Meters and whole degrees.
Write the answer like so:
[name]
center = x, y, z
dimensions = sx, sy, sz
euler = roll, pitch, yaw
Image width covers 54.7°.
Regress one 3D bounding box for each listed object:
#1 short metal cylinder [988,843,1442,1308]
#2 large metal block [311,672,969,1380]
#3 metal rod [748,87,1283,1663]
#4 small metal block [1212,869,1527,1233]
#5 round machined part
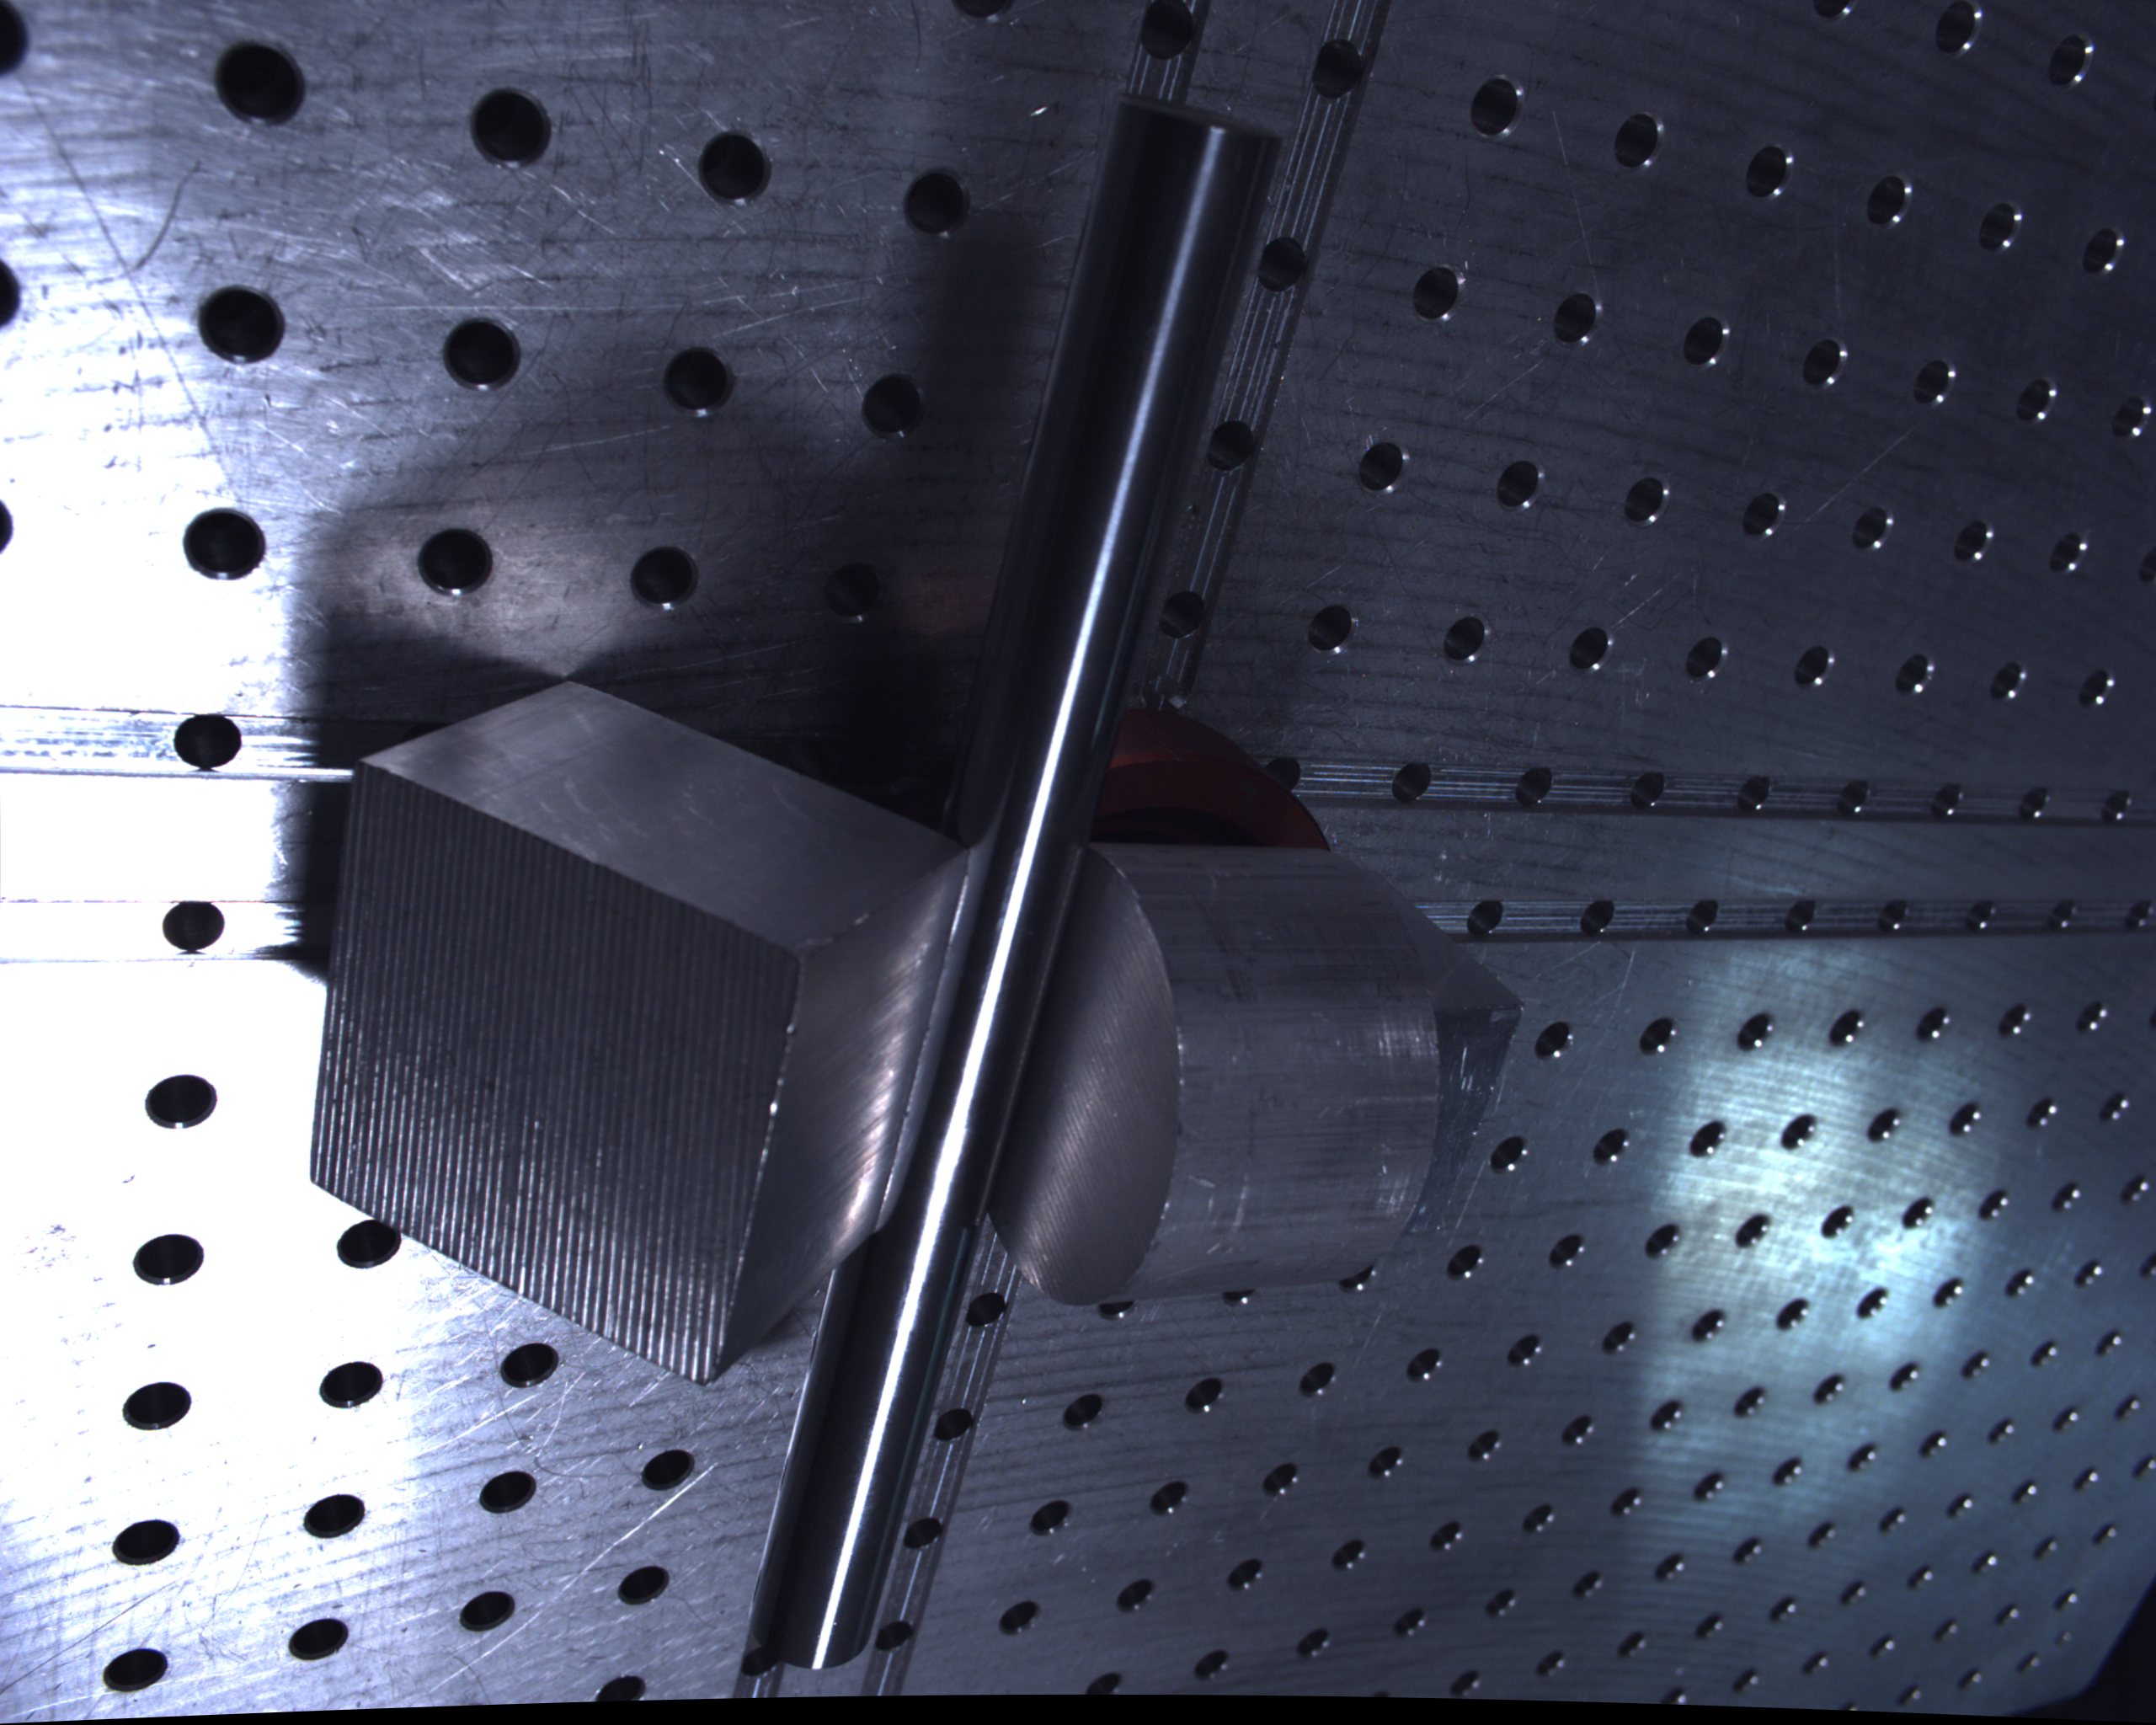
[short metal cylinder]
center = 0.019, 0.036, 0.371
dimensions = 0.050, 0.080, 0.079
euler = 1, 118, -29
[large metal block]
center = -0.073, 0.024, 0.344
dimensions = 0.050, 0.080, 0.079
euler = -39, 148, -61
[metal rod]
center = -0.019, 0.022, 0.362
dimensions = 0.025, 0.025, 0.298
euler = 1, 118, -29
[small metal block]
center = 0.052, 0.035, 0.392
dimensions = 0.025, 0.050, 0.050
euler = 1, 118, -30
[round machined part]
center = -0.001, 0.014, 0.408
dimensions = 0.099, 0.042, 0.097
euler = -14, 125, -21
